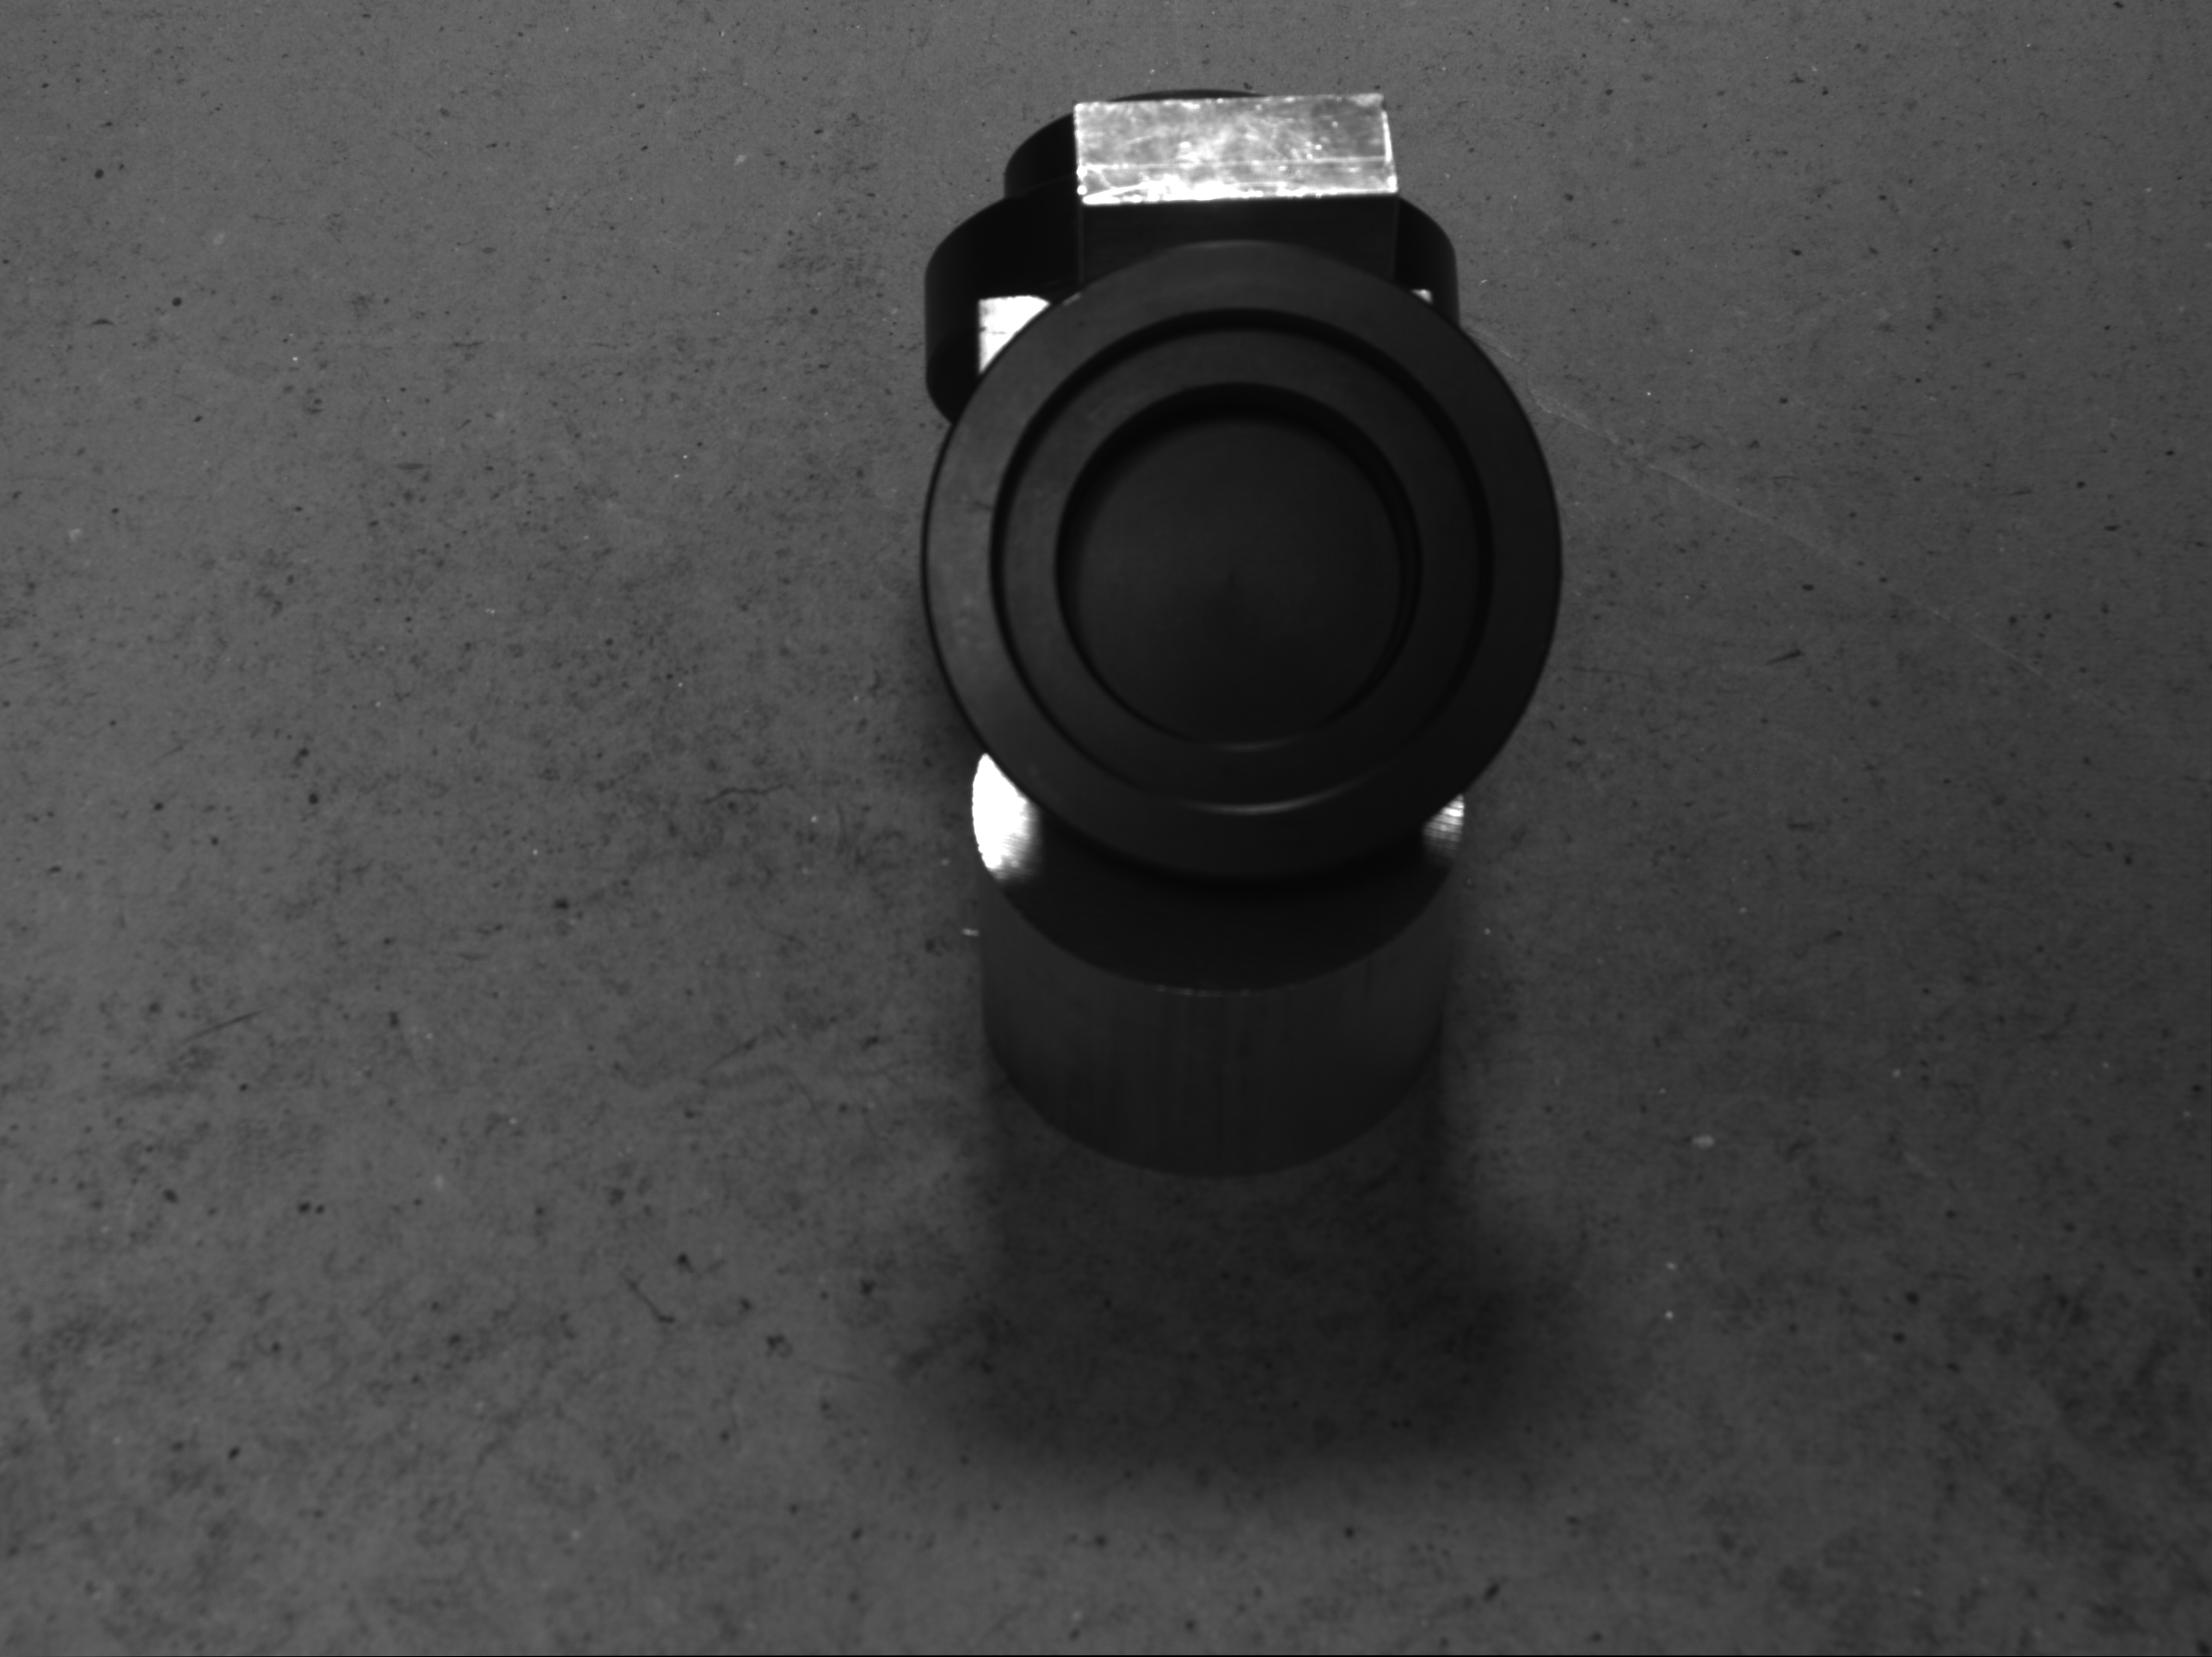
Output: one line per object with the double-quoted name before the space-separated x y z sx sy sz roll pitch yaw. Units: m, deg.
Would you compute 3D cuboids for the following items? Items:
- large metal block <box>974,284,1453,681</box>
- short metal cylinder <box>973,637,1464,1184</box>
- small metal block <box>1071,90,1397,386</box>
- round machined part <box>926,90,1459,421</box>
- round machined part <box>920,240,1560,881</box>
"large metal block" 0.018 -0.048 0.646 0.080 0.080 0.050 -2 50 -1
"short metal cylinder" 0.018 0.013 0.617 0.080 0.050 0.080 0 50 0
"small metal block" 0.020 -0.092 0.598 0.050 0.050 0.025 -2 49 -2
"round machined part" 0.015 -0.102 0.676 0.098 0.098 0.042 -2 75 -1
"round machined part" 0.020 -0.040 0.579 0.098 0.042 0.098 0 88 -1
